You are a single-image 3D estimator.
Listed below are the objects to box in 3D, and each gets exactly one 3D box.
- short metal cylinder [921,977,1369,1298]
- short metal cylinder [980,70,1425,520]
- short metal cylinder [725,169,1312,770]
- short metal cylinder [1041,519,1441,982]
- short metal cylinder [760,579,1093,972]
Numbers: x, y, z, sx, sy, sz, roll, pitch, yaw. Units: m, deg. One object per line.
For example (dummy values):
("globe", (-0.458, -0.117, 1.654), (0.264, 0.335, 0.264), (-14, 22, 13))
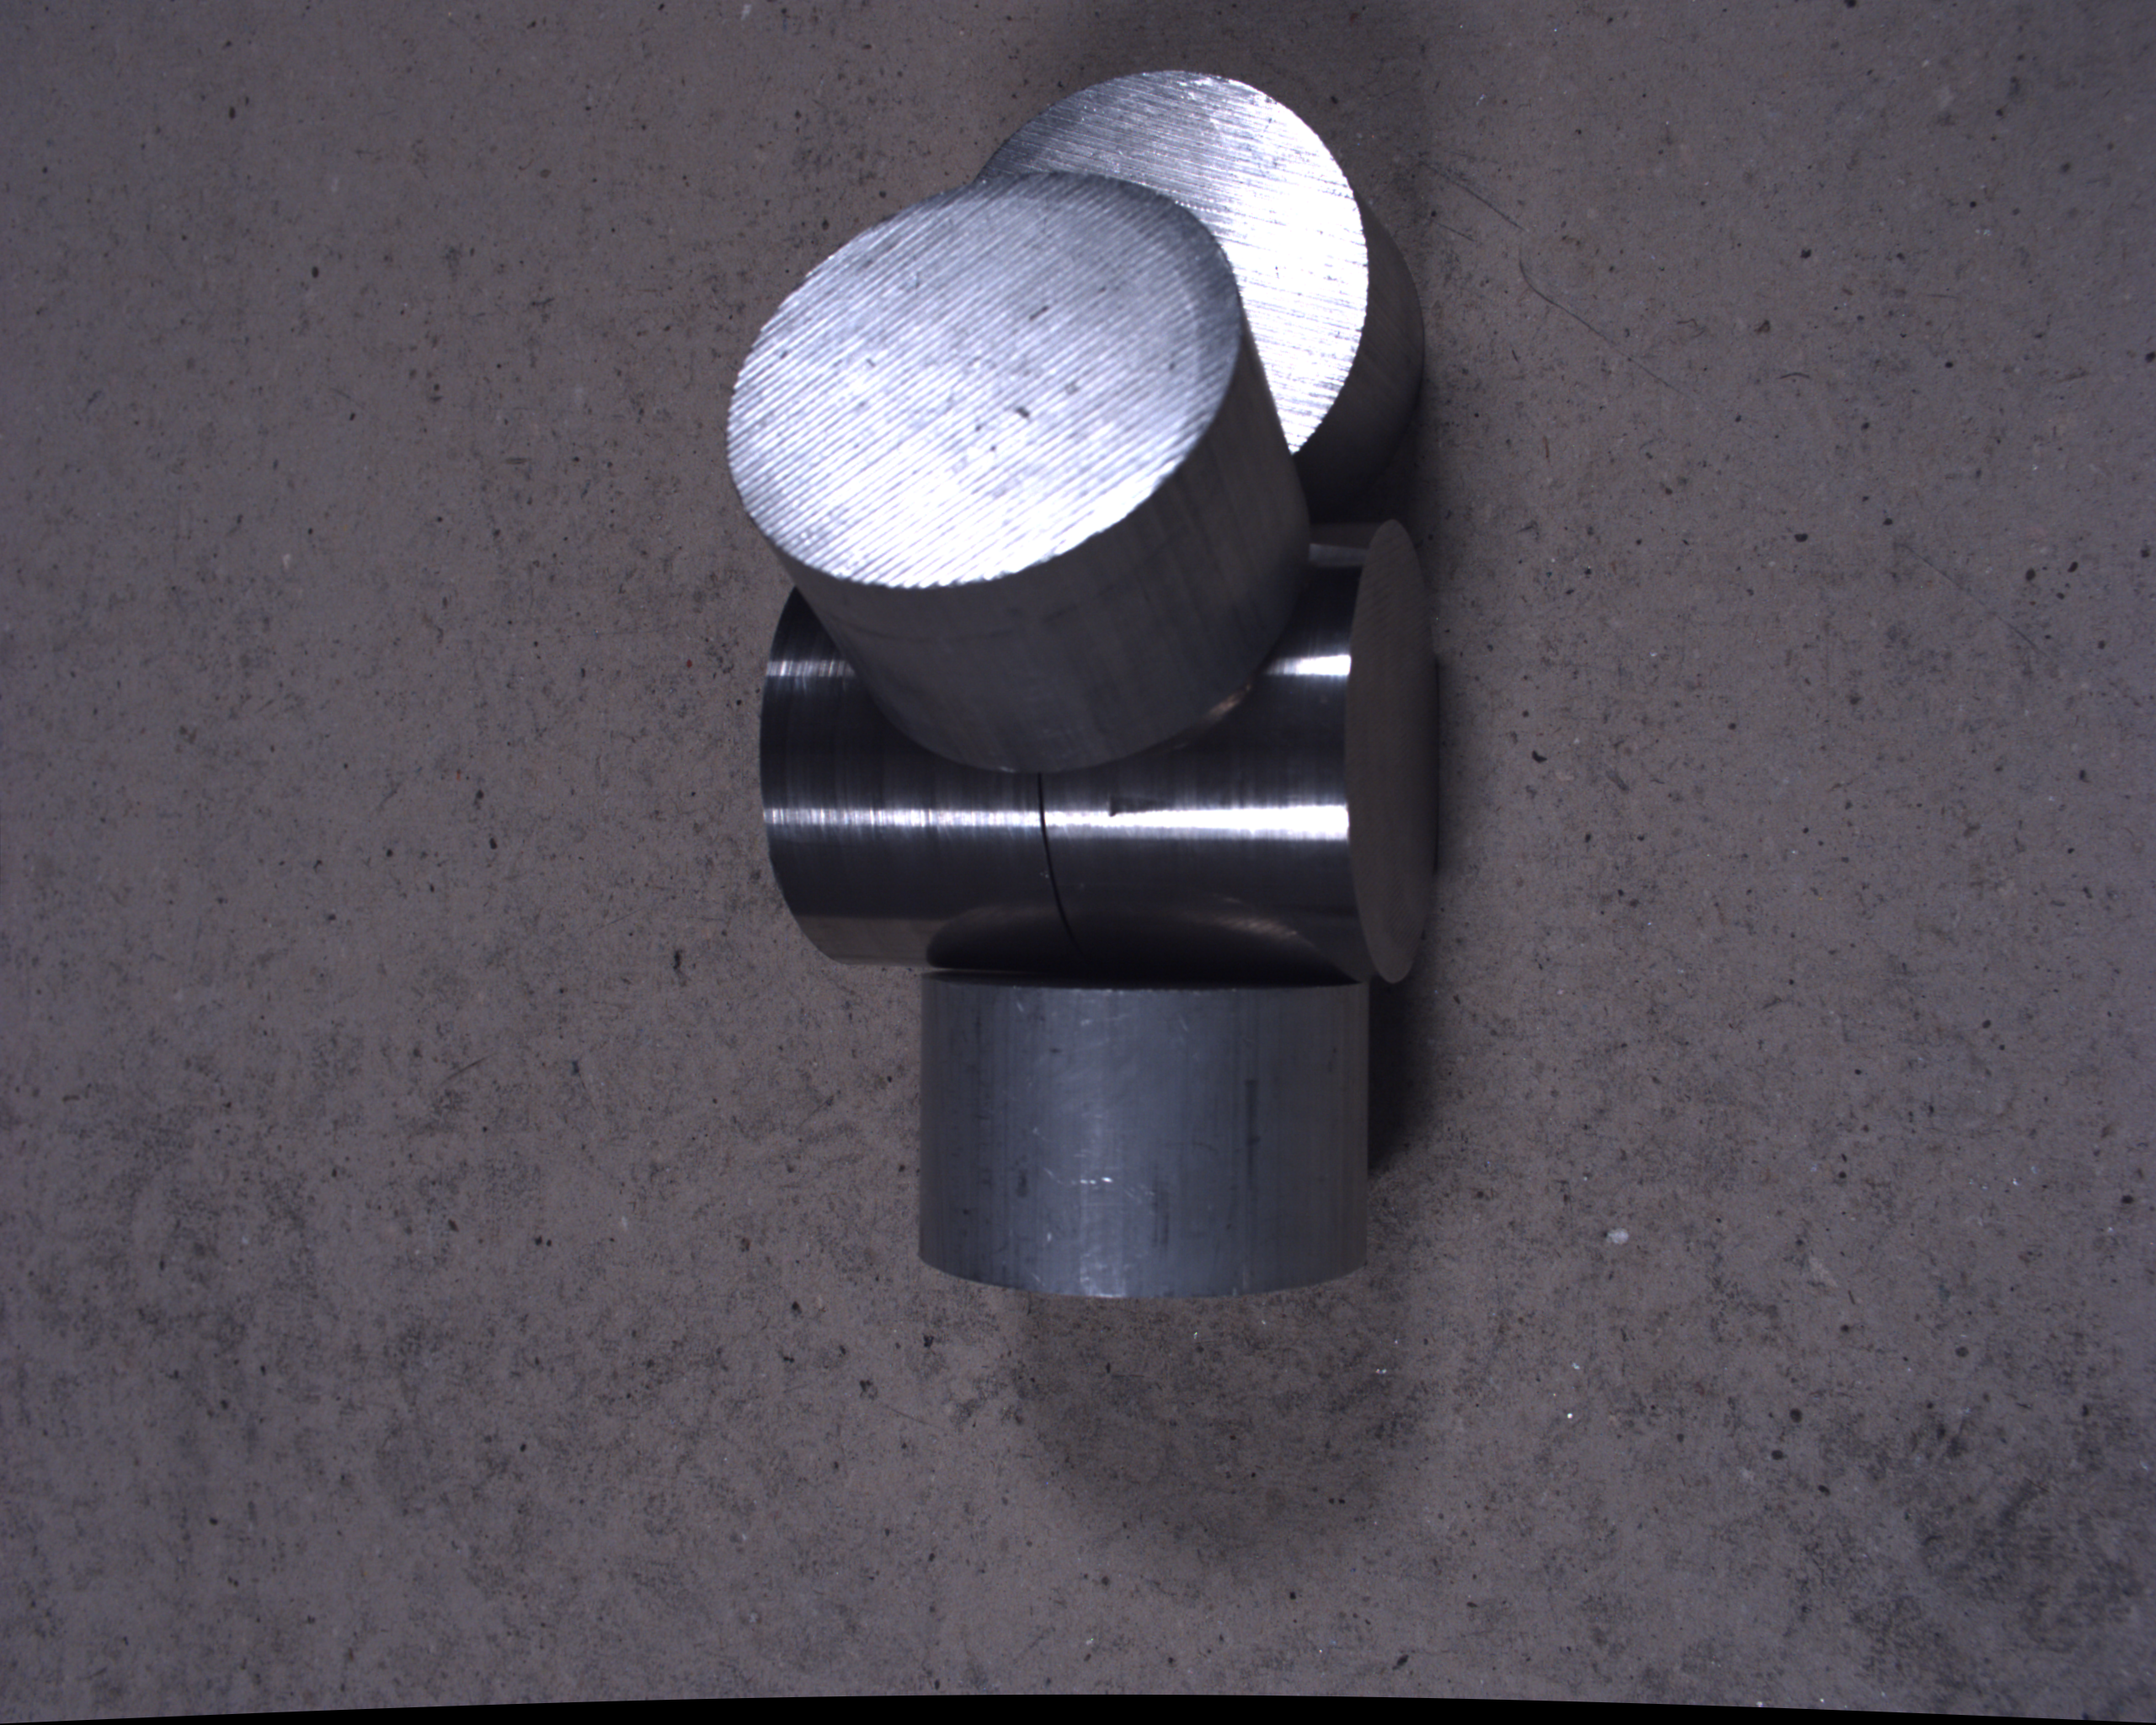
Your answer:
("short metal cylinder", (0.012, 0.045, 0.376), (0.080, 0.080, 0.050), (0, 90, 19))
("short metal cylinder", (0.020, -0.099, 0.390), (0.080, 0.050, 0.079), (0, 90, 19))
("short metal cylinder", (-0.008, -0.061, 0.329), (0.080, 0.050, 0.080), (-8, 59, 14))
("short metal cylinder", (0.032, -0.019, 0.369), (0.050, 0.080, 0.079), (0, 90, 20))
("short metal cylinder", (-0.017, -0.020, 0.387), (0.050, 0.080, 0.079), (1, 90, 19))
